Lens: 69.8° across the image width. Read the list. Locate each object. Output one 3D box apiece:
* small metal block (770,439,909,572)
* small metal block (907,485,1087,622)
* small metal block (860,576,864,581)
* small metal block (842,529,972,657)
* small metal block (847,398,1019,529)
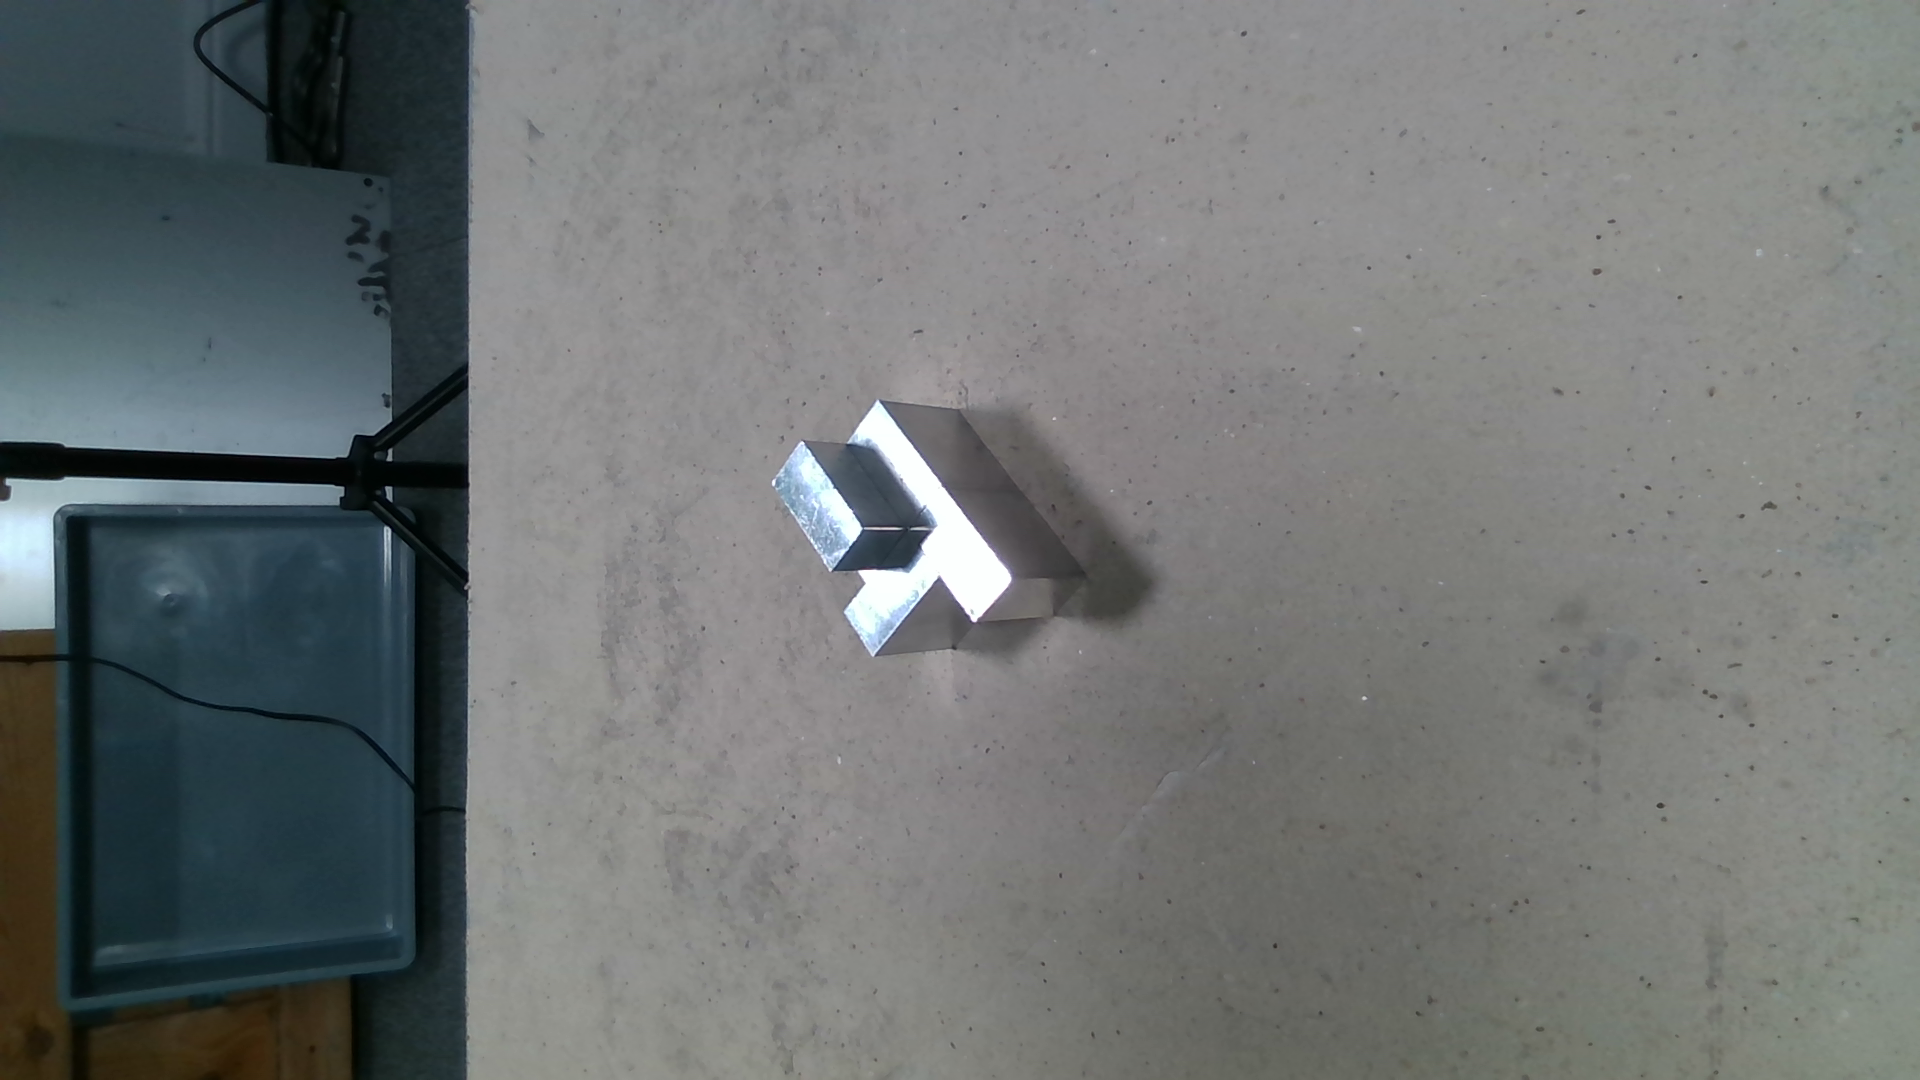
[{"bbox_3d":[-0.042,-0.014,0.568,0.025,0.050,0.050,-52,60,28],"label":"small metal block"},{"bbox_3d":[0.015,0.005,0.553,0.025,0.050,0.050,-52,60,28],"label":"small metal block"},{"bbox_3d":[-0.024,-0.005,0.603,0.050,0.025,0.050,-50,60,29],"label":"small metal block"},{"bbox_3d":[-0.013,0.022,0.576,0.050,0.050,0.025,-51,60,28],"label":"small metal block"},{"bbox_3d":[-0.012,-0.031,0.575,0.025,0.050,0.050,-52,60,28],"label":"small metal block"}]
